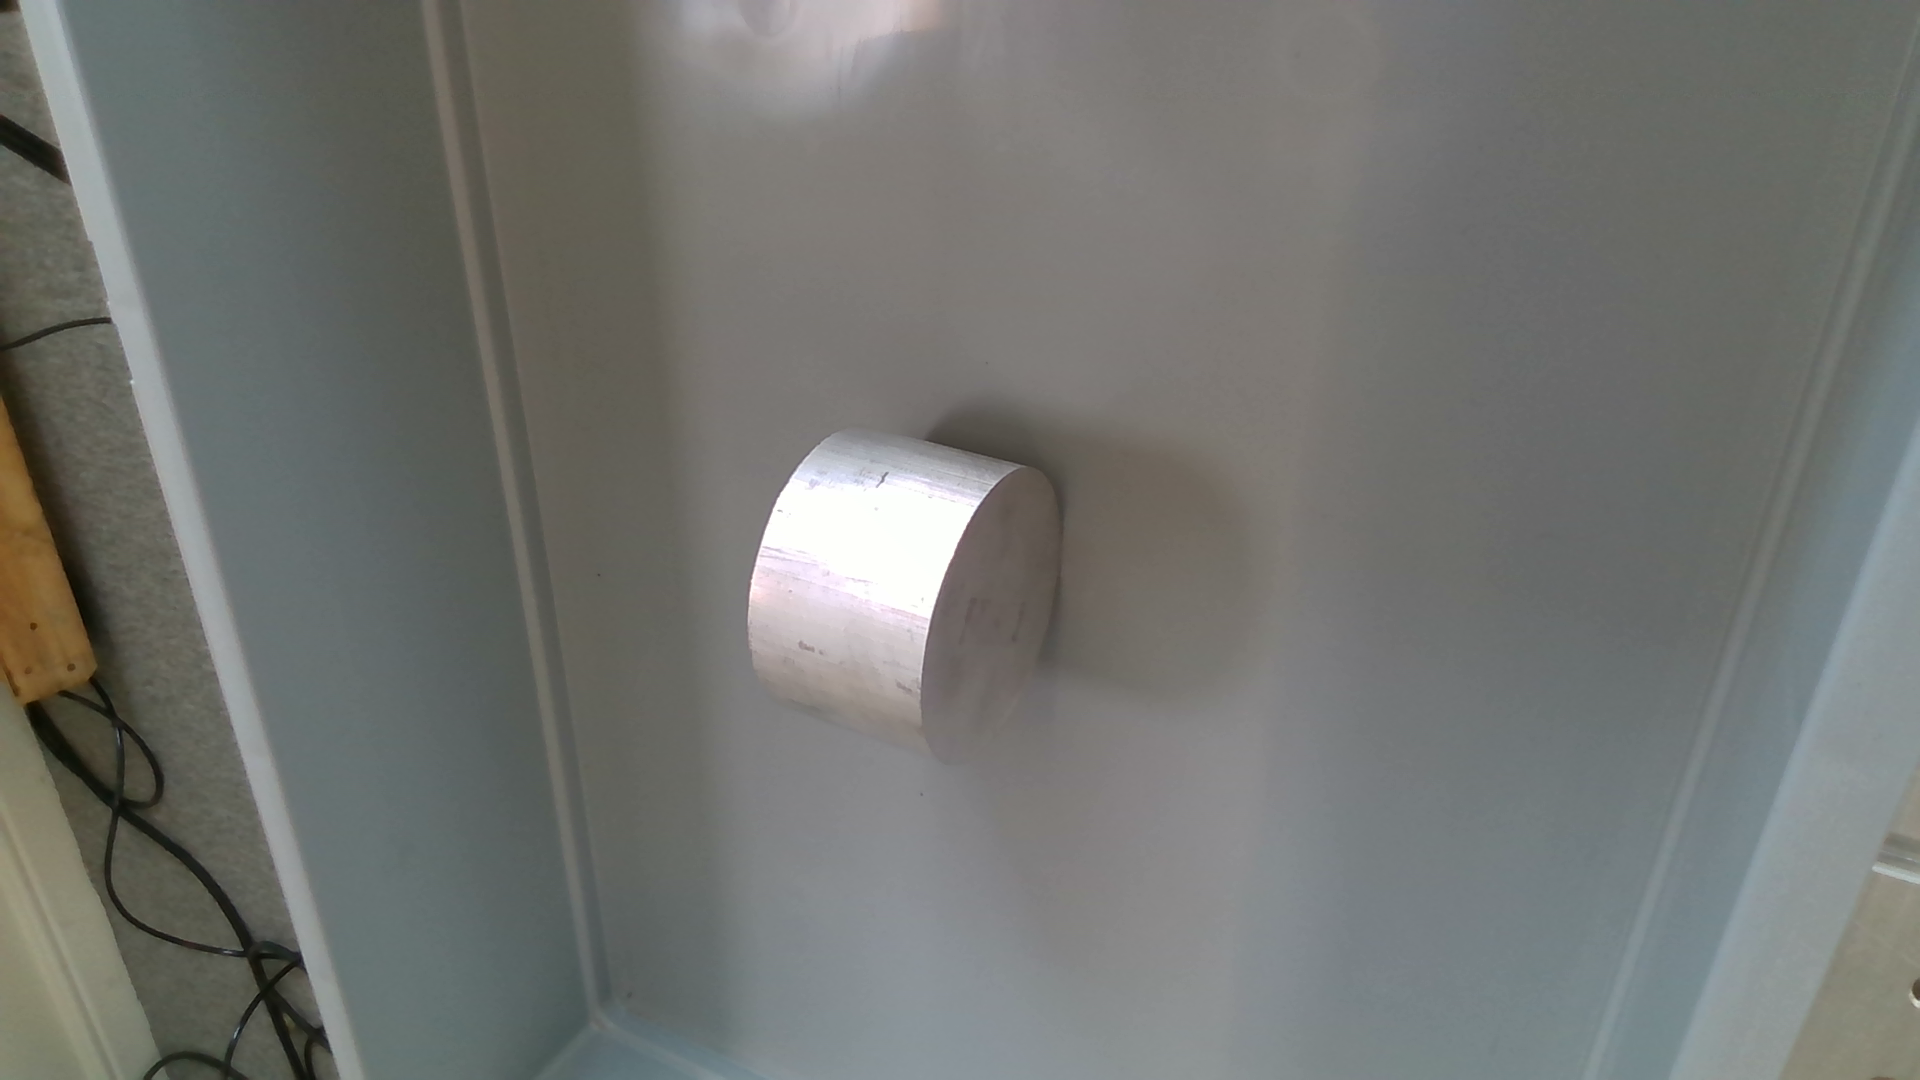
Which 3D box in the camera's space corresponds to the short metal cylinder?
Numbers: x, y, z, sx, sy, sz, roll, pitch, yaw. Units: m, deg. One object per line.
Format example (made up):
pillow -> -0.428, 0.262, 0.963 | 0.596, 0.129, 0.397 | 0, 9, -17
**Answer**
short metal cylinder -> -0.013, 0.013, 0.365 | 0.050, 0.080, 0.080 | 16, 122, 24
